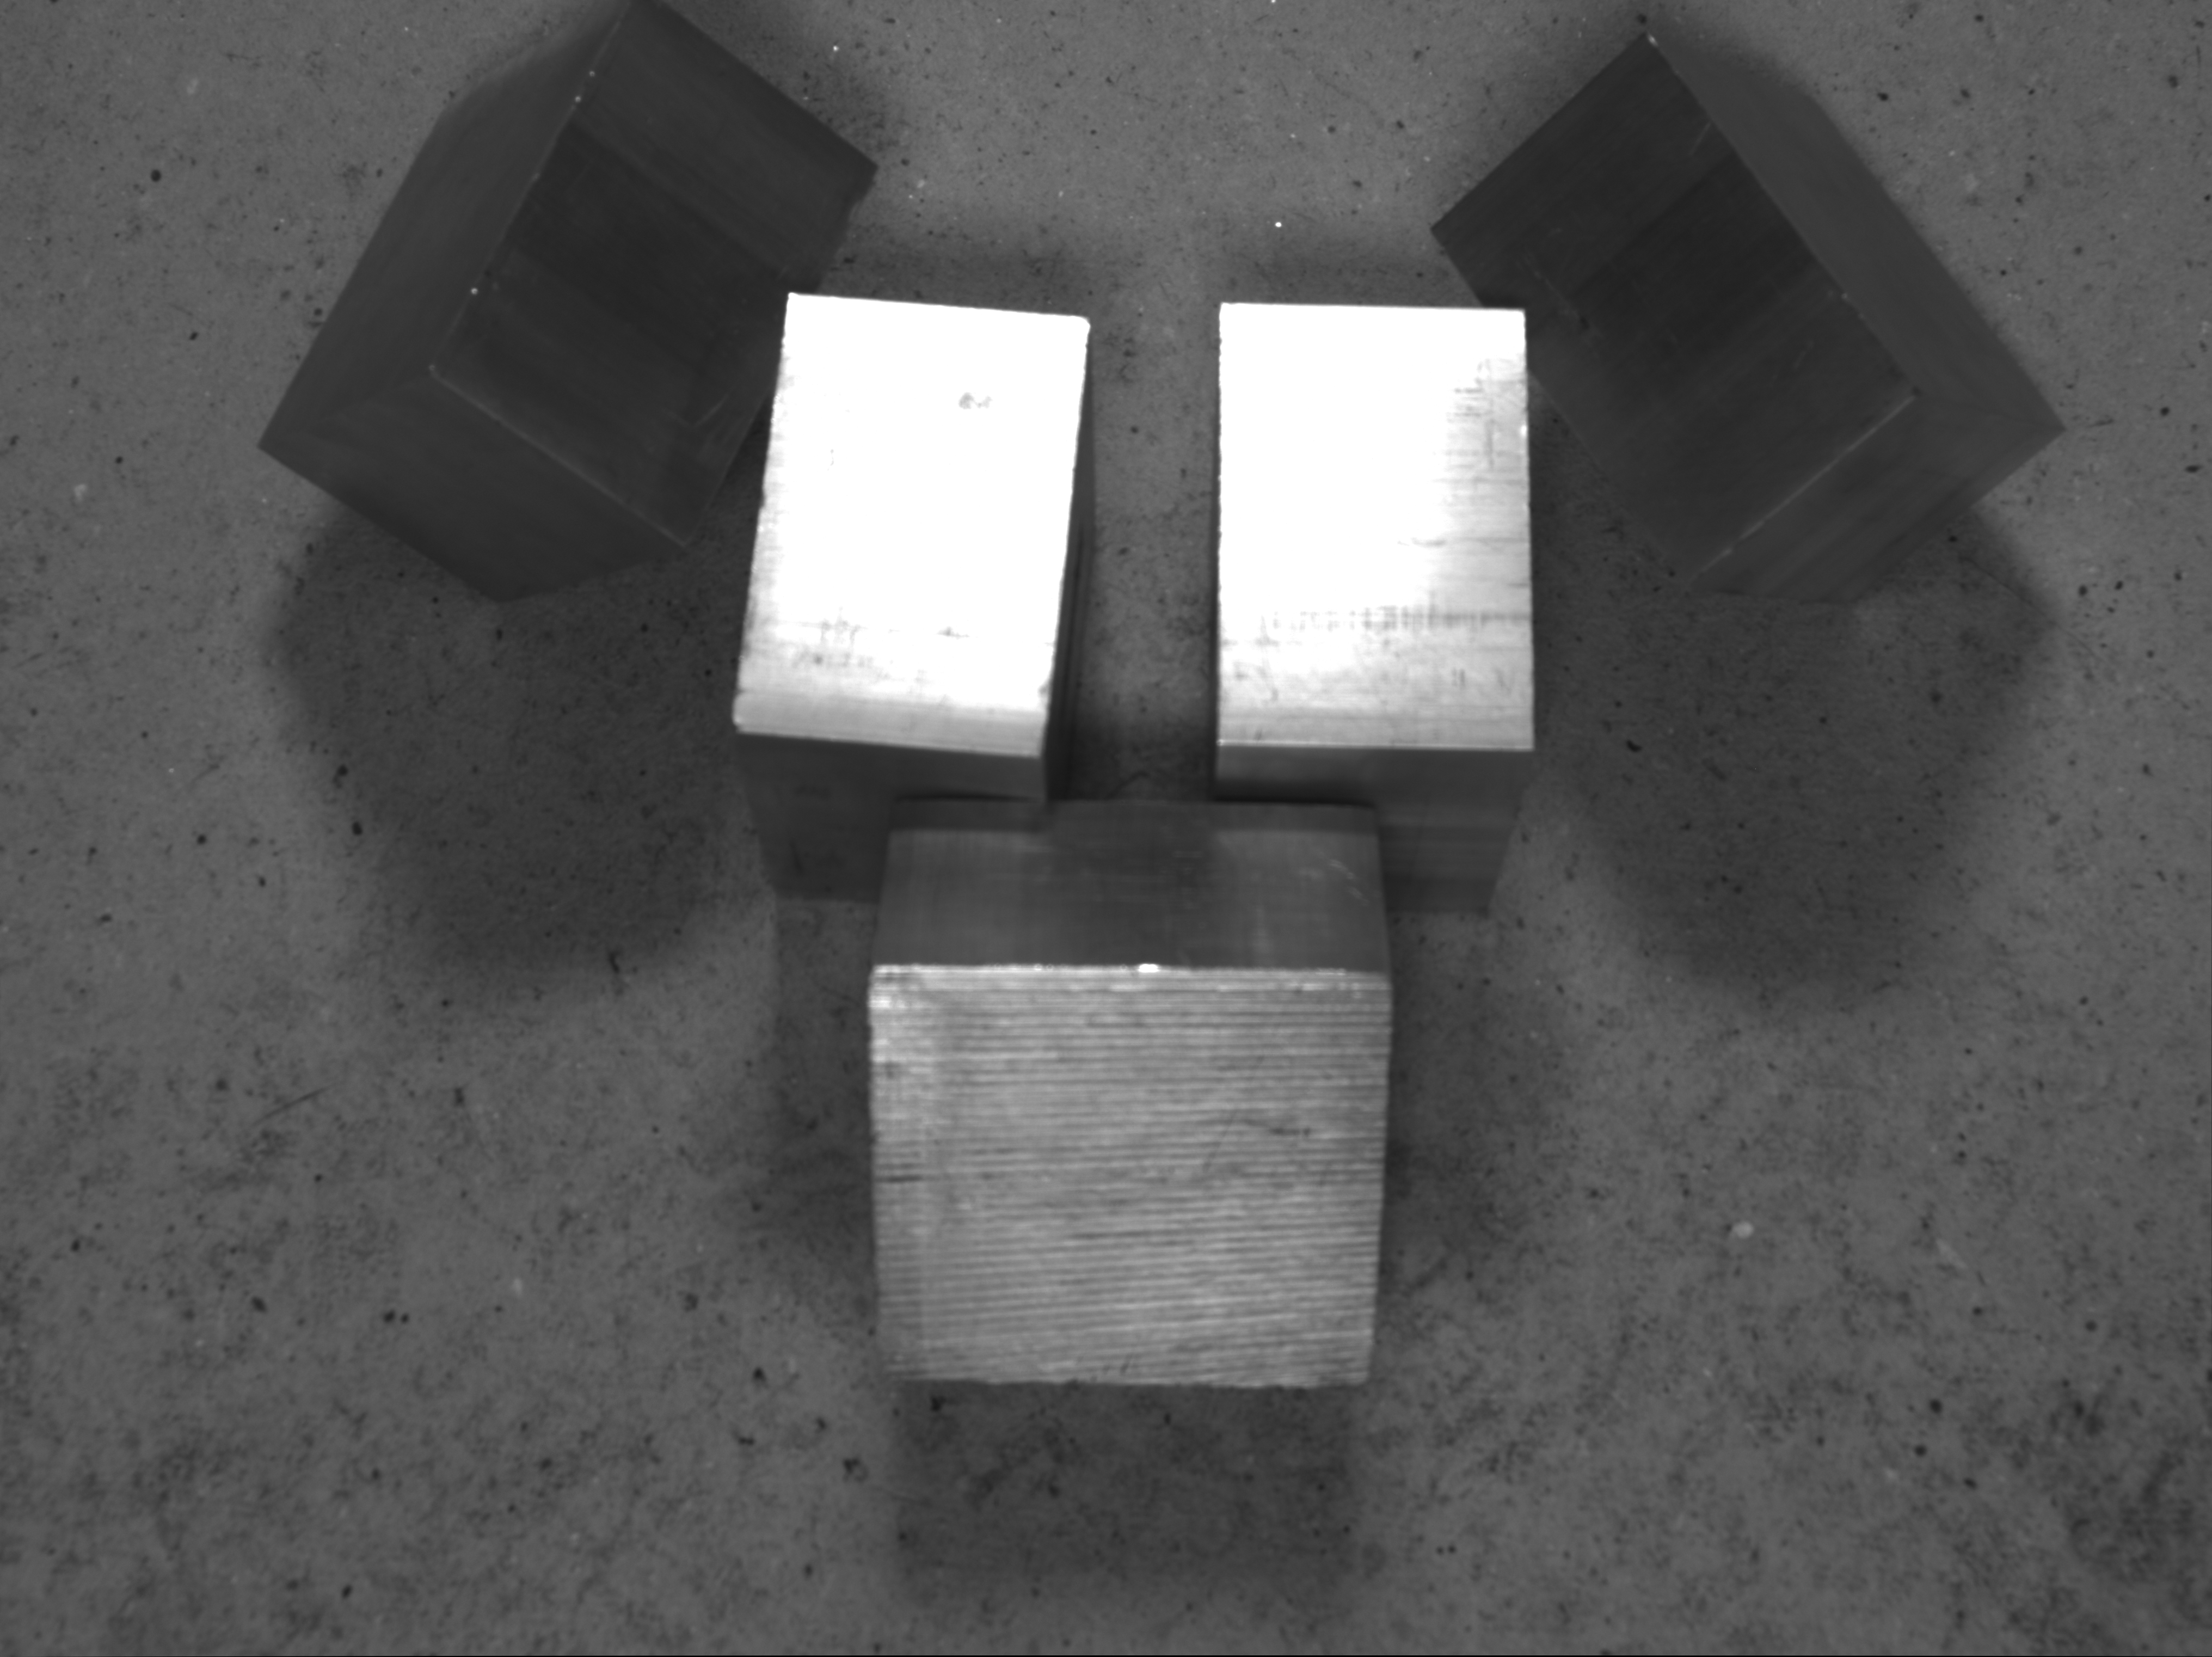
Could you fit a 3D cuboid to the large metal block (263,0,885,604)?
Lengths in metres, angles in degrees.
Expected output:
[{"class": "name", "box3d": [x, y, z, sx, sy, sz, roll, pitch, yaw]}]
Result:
[{"class": "large metal block", "box3d": [-0.094, -0.091, 0.640, 0.050, 0.080, 0.080, 34, 69, -26]}]

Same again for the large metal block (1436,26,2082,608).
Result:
[{"class": "large metal block", "box3d": [0.115, -0.087, 0.641, 0.050, 0.080, 0.080, -41, 70, 25]}]

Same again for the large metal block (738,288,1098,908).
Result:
[{"class": "large metal block", "box3d": [-0.030, -0.036, 0.629, 0.050, 0.080, 0.080, 5, 70, 2]}]

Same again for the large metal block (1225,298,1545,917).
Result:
[{"class": "large metal block", "box3d": [0.045, -0.036, 0.629, 0.050, 0.080, 0.080, 1, 70, 0]}]

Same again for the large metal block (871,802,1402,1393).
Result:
[{"class": "large metal block", "box3d": [0.005, 0.043, 0.593, 0.080, 0.080, 0.050, 1, 31, 1]}]
